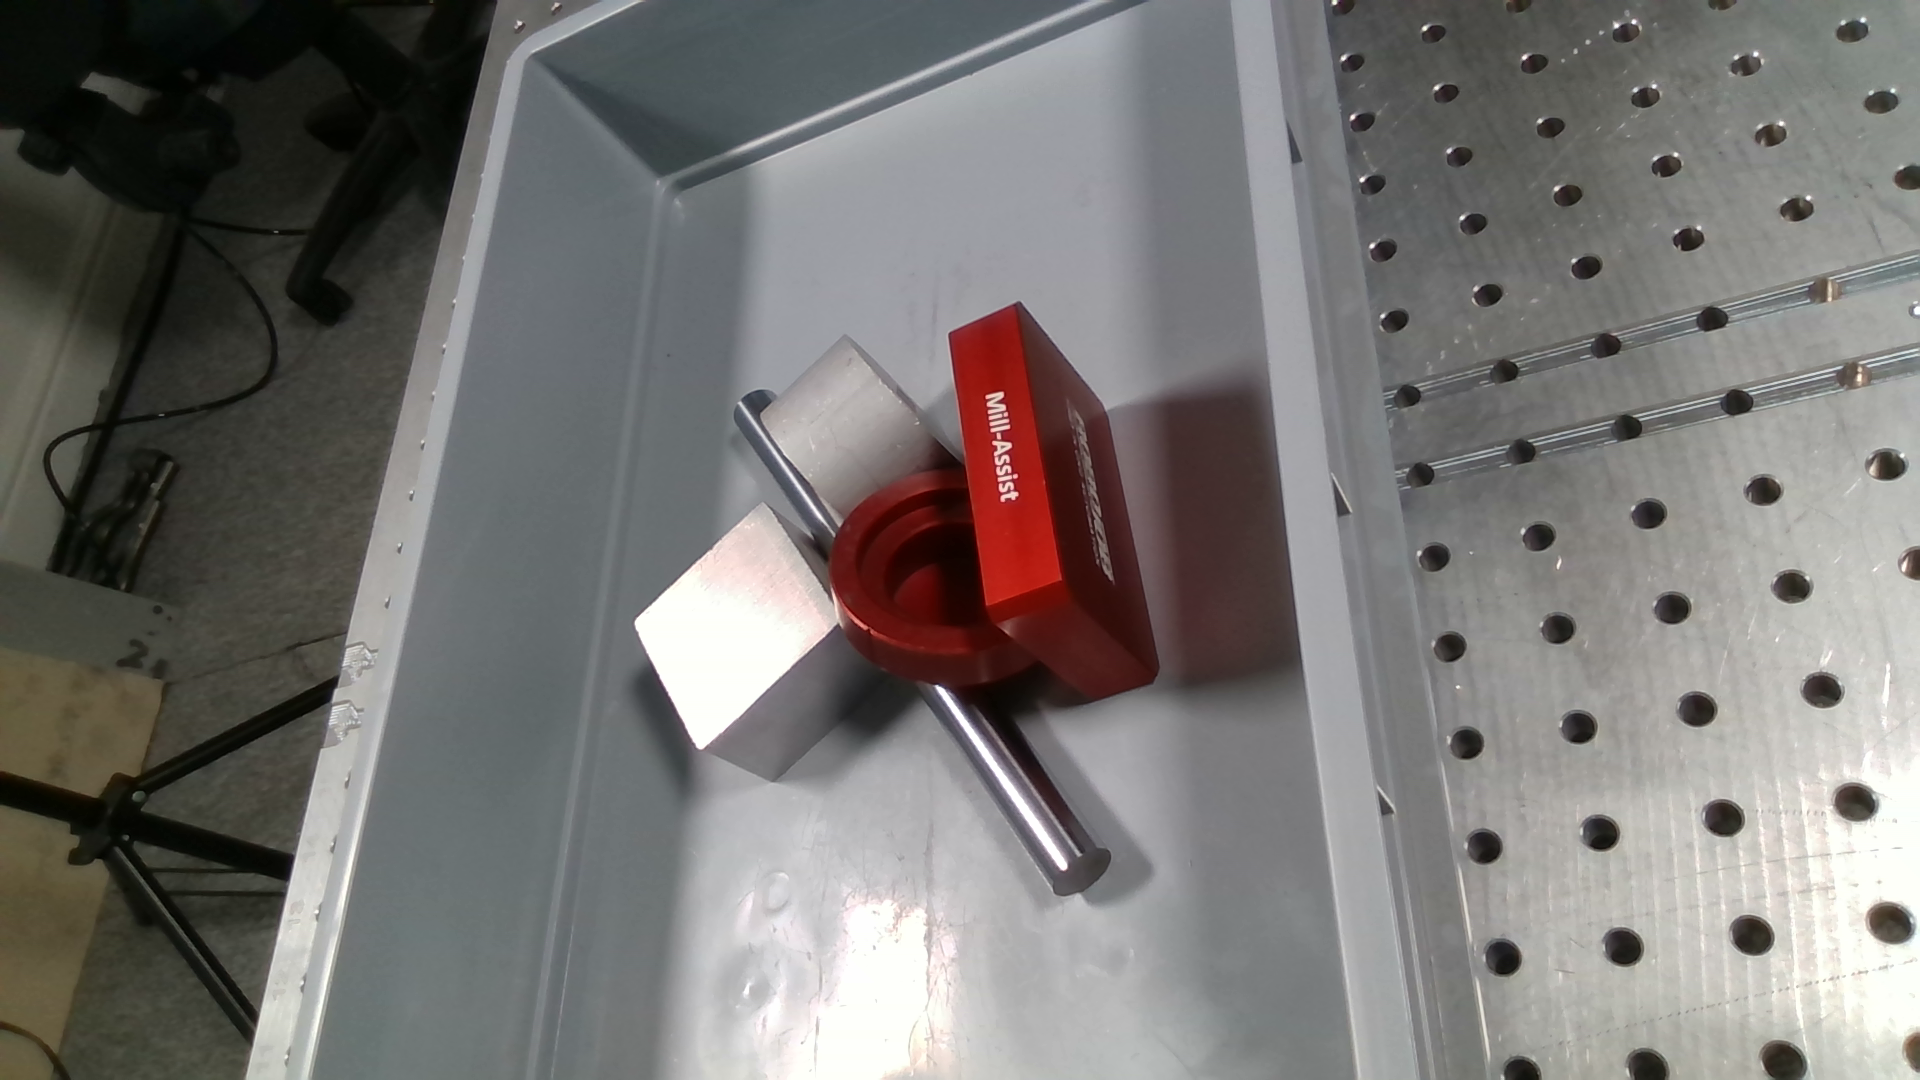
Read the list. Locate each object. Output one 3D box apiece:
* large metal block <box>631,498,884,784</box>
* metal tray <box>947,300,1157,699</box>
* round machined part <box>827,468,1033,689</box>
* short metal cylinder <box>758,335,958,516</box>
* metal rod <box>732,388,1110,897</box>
[{"bbox_3d":[-0.084,0.044,0.595,0.080,0.050,0.080,-42,51,6],"label":"large metal block"},{"bbox_3d":[0.036,-0.015,0.527,0.030,0.090,0.130,-20,57,21],"label":"metal tray"},{"bbox_3d":[-0.001,0.020,0.546,0.098,0.042,0.098,-2,47,2],"label":"round machined part"},{"bbox_3d":[-0.041,-0.042,0.597,0.050,0.080,0.080,-43,51,5],"label":"short metal cylinder"},{"bbox_3d":[-0.029,0.028,0.587,0.025,0.025,0.299,-42,51,5],"label":"metal rod"}]
